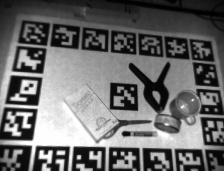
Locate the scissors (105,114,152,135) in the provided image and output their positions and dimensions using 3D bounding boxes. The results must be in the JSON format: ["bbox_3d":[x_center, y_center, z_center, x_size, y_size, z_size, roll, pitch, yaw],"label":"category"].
[{"bbox_3d":[0.040,0.114,0.736,0.204,0.016,0.087,-6,68,-14],"label":"scissors"}]

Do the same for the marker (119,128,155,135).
[{"bbox_3d":[0.085,0.156,0.732,0.121,0.019,0.019,0,71,-10],"label":"marker"}]

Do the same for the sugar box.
[{"bbox_3d":[-0.063,0.080,0.712,0.093,0.045,0.175,-33,73,-19],"label":"sugar box"}]

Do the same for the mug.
[{"bbox_3d":[0.250,0.075,0.762,0.094,0.081,0.116,-23,72,-17],"label":"mug"}]

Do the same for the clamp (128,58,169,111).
[{"bbox_3d":[0.157,-0.006,0.806,0.166,0.036,0.202,-6,73,-13],"label":"clamp"}]

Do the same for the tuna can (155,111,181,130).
[{"bbox_3d":[0.191,0.119,0.729,0.086,0.085,0.034,19,68,-2],"label":"tuna can"}]
